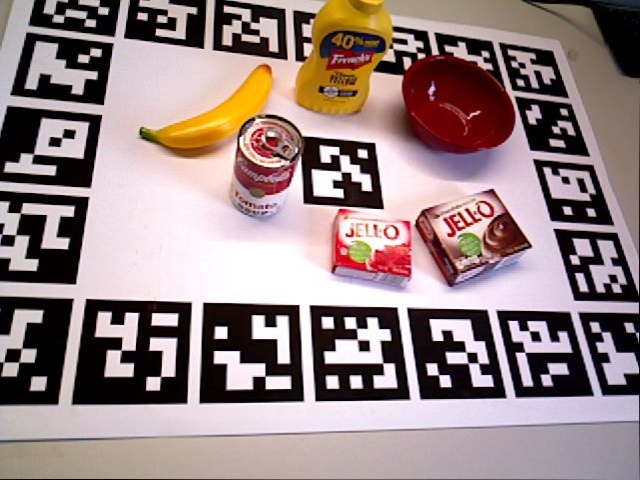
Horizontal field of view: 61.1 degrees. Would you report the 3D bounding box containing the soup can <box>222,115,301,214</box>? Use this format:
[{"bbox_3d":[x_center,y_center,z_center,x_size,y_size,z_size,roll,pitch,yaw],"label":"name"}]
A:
[{"bbox_3d":[-0.066,-0.083,0.576,0.067,0.104,0.067,8,58,-14],"label":"soup can"}]

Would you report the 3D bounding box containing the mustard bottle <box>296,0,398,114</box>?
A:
[{"bbox_3d":[0.037,-0.234,0.629,0.095,0.196,0.057,4,58,-14],"label":"mustard bottle"}]

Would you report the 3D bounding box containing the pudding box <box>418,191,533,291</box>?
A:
[{"bbox_3d":[0.186,-0.001,0.648,0.112,0.039,0.090,-20,75,-24],"label":"pudding box"}]

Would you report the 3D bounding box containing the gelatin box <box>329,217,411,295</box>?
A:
[{"bbox_3d":[0.056,0.018,0.608,0.088,0.031,0.072,9,64,-10],"label":"gelatin box"}]

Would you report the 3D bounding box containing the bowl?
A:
[{"bbox_3d":[0.181,-0.168,0.730,0.160,0.056,0.159,6,61,-11],"label":"bowl"}]

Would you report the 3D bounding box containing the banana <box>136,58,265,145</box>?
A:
[{"bbox_3d":[-0.123,-0.164,0.653,0.074,0.040,0.193,35,59,17],"label":"banana"}]
